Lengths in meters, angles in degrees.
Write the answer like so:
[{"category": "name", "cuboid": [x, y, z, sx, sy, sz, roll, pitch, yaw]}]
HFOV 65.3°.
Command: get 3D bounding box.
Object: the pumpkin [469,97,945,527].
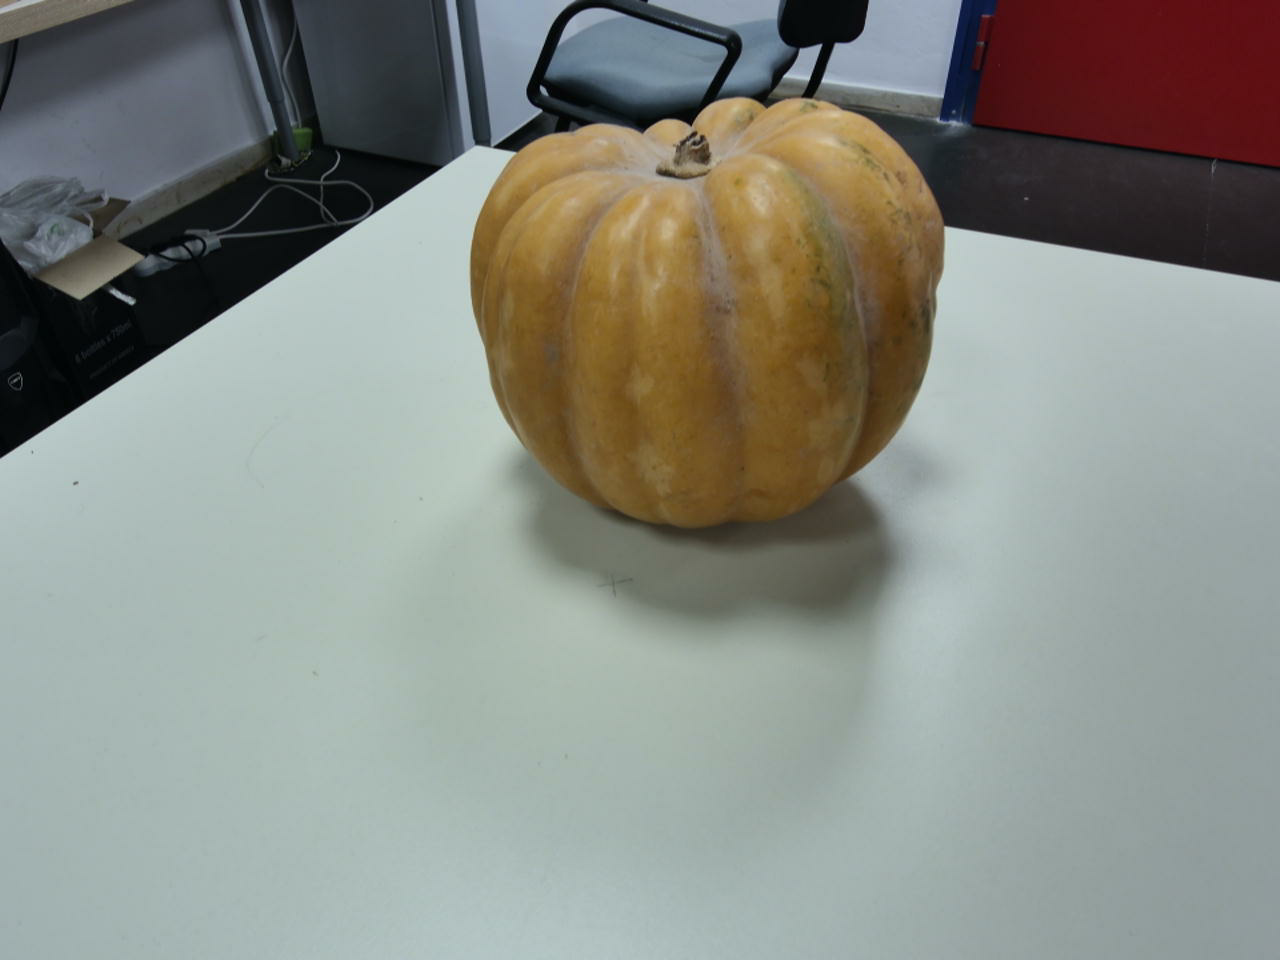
[{"category": "pumpkin", "cuboid": [0.033, -0.082, 0.491, 0.230, 0.194, 0.230, 0, 38, 0]}]
